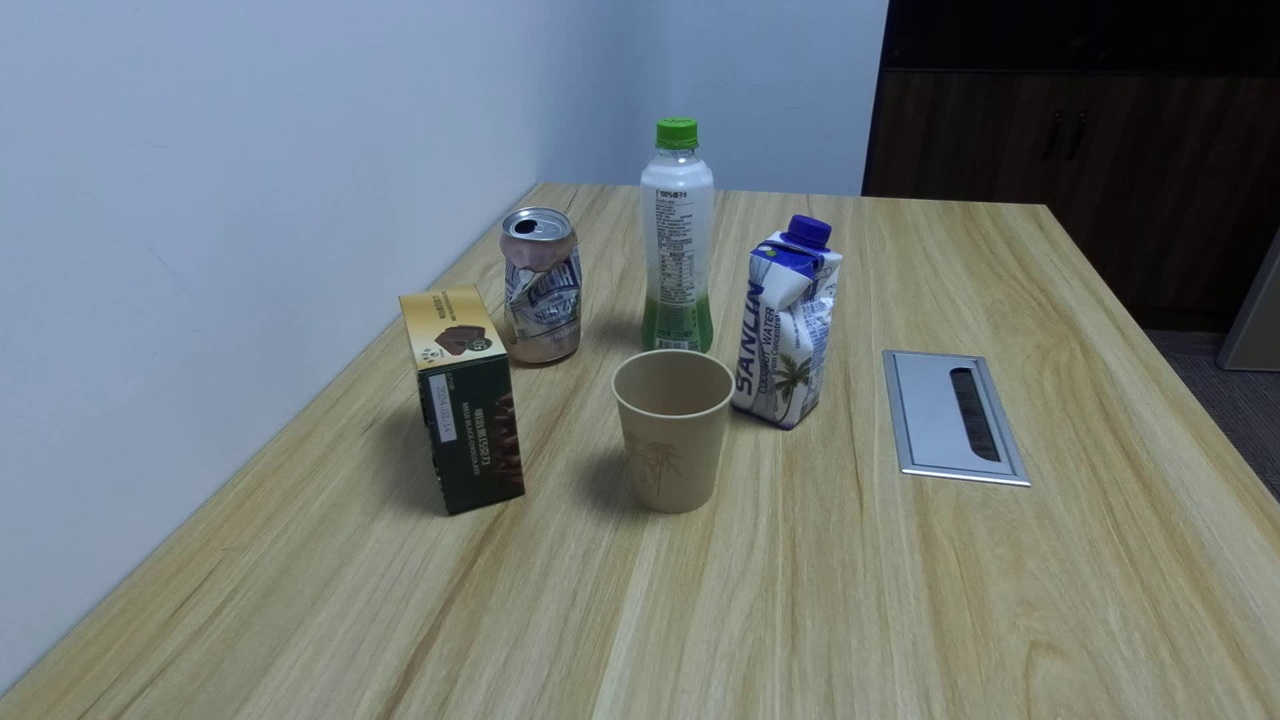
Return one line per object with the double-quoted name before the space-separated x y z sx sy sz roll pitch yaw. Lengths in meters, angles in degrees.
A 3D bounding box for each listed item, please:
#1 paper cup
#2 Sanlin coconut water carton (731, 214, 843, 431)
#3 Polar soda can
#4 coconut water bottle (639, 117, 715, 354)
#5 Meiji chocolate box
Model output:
"paper cup" 0.020 0.047 0.440 0.075 0.082 0.075 -1 32 1
"Sanlin coconut water carton" 0.104 -0.026 0.498 0.060 0.144 0.070 22 36 33
"Polar soda can" -0.082 -0.056 0.587 0.066 0.122 0.071 3 31 -3
"coconut water bottle" 0.030 -0.095 0.569 0.063 0.189 0.063 -1 30 1
"Meiji chocolate box" -0.119 0.023 0.468 0.056 0.109 0.109 -13 33 -18
